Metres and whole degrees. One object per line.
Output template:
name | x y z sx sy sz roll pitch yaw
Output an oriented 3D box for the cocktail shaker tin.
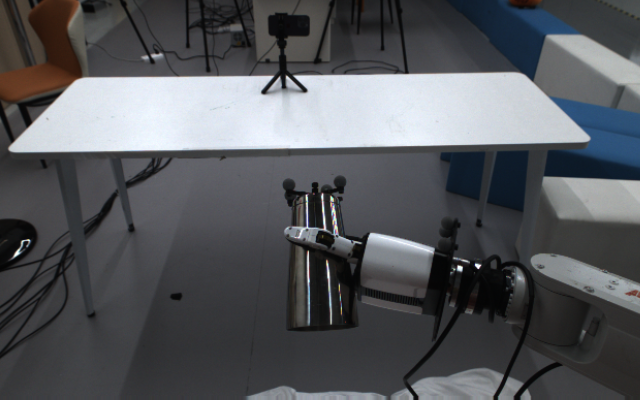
cocktail shaker tin | -0.001 0.082 0.636 0.093 0.093 0.170 -2 71 -6
